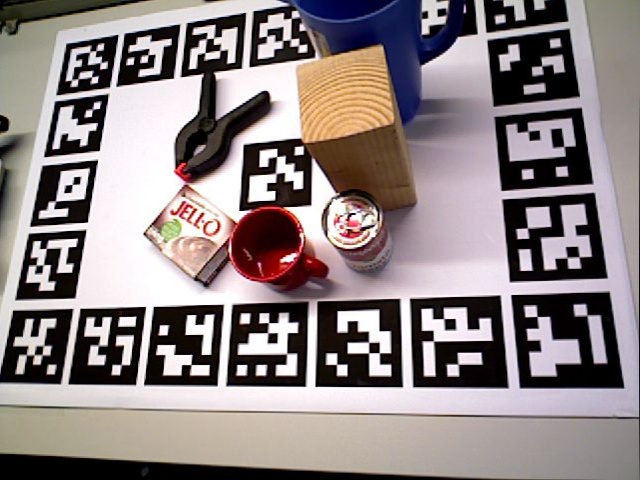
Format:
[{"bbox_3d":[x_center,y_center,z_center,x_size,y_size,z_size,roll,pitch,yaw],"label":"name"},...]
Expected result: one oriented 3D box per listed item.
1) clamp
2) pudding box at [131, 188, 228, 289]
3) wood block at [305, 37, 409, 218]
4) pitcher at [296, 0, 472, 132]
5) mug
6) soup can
[{"bbox_3d":[-0.151,-0.154,0.761,0.122,0.037,0.164,28,81,15],"label":"clamp"},{"bbox_3d":[-0.178,-0.003,0.712,0.114,0.039,0.090,36,87,24],"label":"pudding box"},{"bbox_3d":[0.048,-0.105,0.586,0.090,0.208,0.090,-4,69,9],"label":"wood block"},{"bbox_3d":[0.072,-0.226,0.603,0.190,0.244,0.132,-4,67,16],"label":"pitcher"},{"bbox_3d":[-0.049,0.026,0.638,0.117,0.082,0.093,34,80,24],"label":"mug"},{"bbox_3d":[0.040,-0.001,0.610,0.068,0.102,0.067,-5,72,13],"label":"soup can"}]
